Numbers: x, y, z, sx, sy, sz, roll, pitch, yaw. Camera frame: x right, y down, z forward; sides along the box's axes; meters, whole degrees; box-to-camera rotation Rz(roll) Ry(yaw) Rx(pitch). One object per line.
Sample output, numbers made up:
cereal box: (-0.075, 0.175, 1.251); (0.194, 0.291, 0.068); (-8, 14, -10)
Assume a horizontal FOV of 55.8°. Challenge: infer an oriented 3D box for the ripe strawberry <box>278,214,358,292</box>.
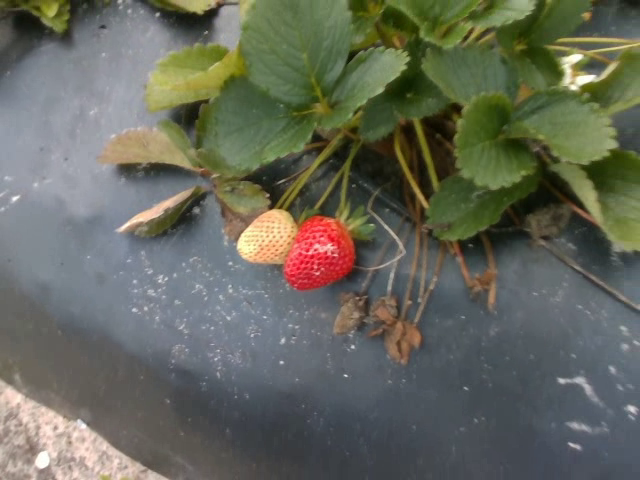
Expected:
ripe strawberry: (-0.002, 0.007, 0.275); (0.041, 0.034, 0.033); (-34, -6, -30)
